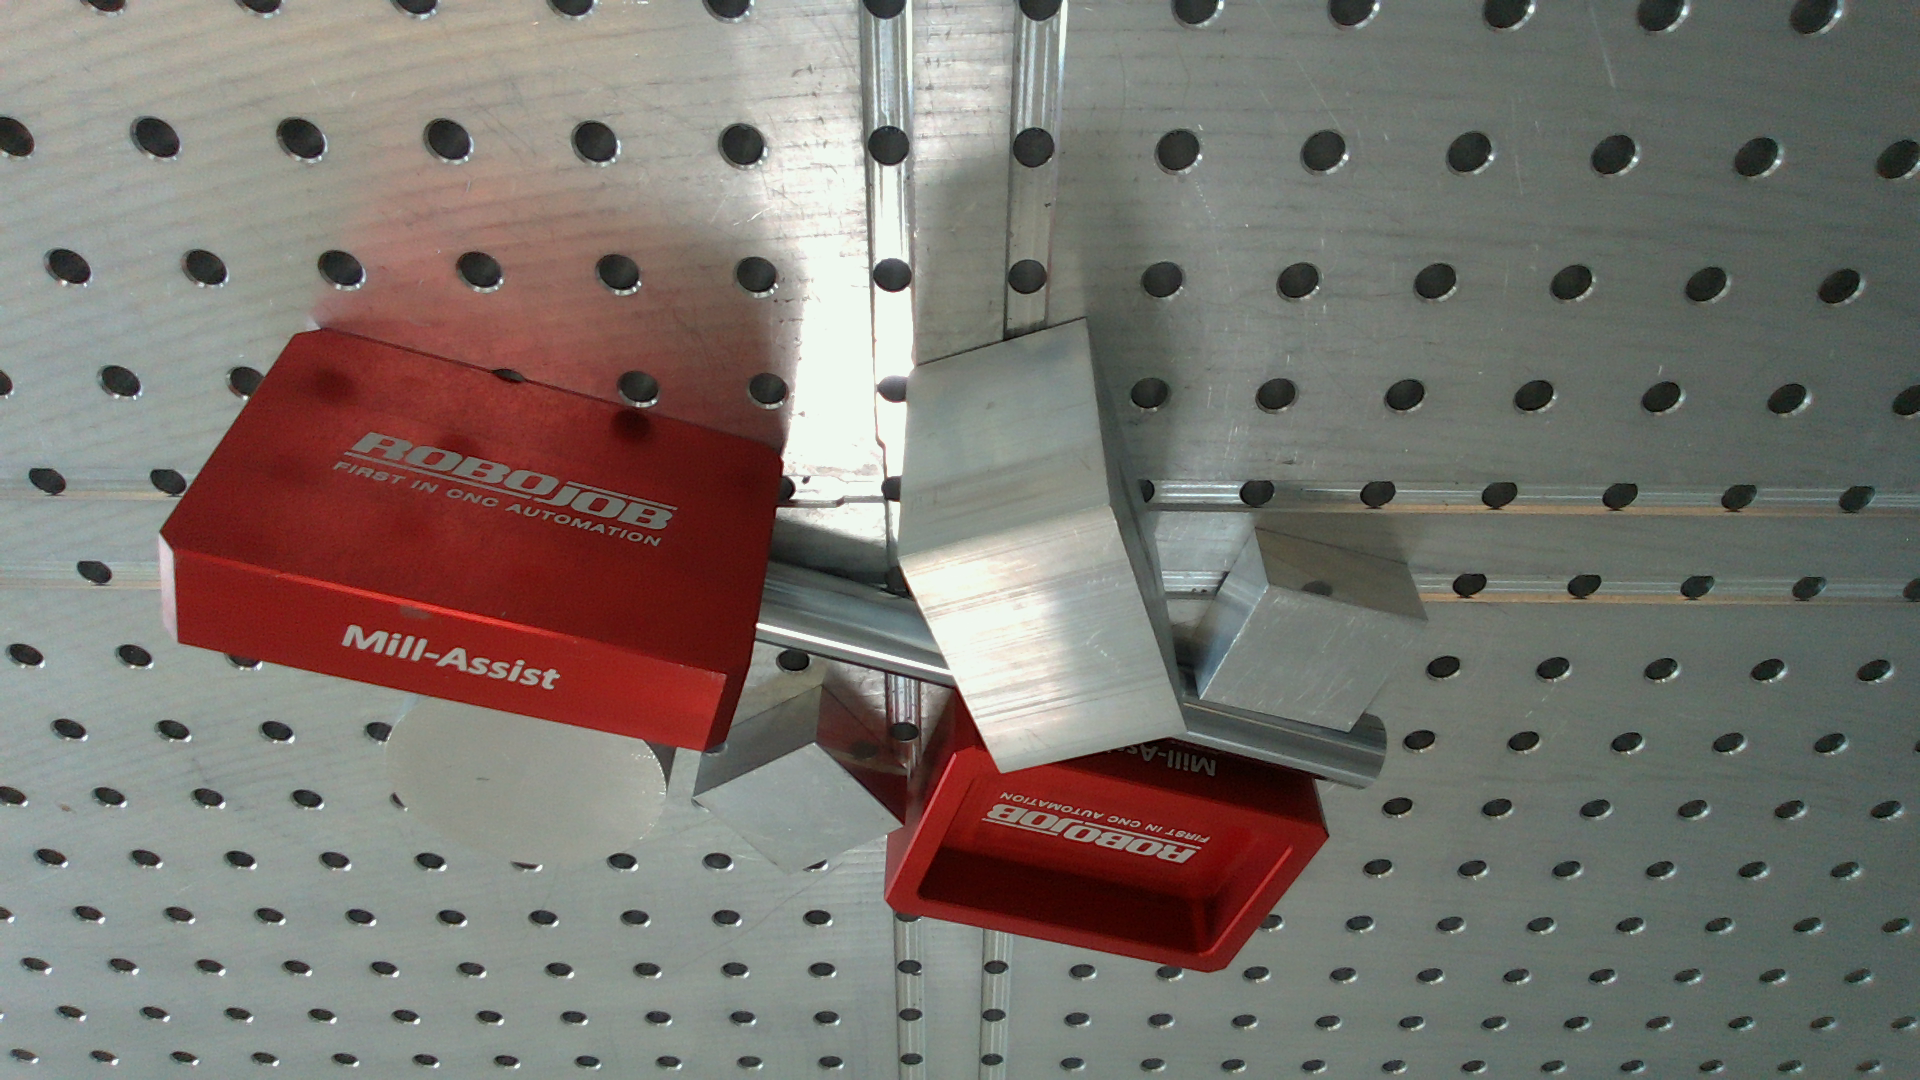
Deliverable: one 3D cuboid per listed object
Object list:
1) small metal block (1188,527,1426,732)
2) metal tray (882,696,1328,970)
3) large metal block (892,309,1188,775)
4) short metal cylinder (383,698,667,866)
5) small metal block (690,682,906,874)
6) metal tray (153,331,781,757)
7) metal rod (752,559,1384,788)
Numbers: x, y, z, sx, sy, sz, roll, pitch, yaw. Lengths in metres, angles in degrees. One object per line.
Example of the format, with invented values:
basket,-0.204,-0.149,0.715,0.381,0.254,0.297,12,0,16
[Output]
small metal block,0.104,0.028,0.418,0.050,0.025,0.050,13,129,-11
metal tray,0.047,0.102,0.476,0.130,0.030,0.090,14,129,-12
large metal block,0.021,0.000,0.360,0.050,0.080,0.080,-14,129,12
short metal cylinder,-0.127,0.055,0.422,0.080,0.050,0.080,0,130,0
small metal block,-0.053,0.081,0.463,0.050,0.025,0.050,-26,126,20
metal tray,-0.116,-0.001,0.348,0.130,0.090,0.030,14,129,-12
metal rod,-0.009,0.031,0.420,0.300,0.025,0.025,15,129,-13
